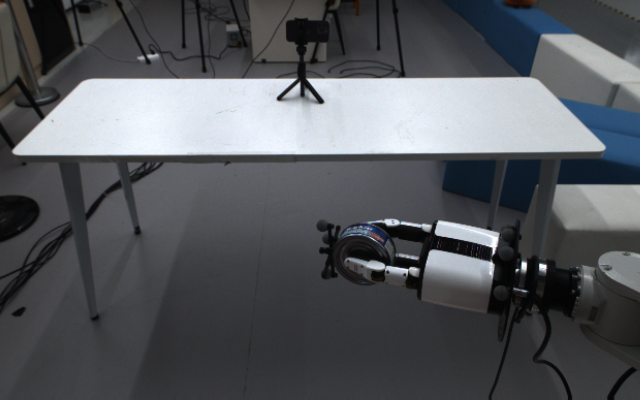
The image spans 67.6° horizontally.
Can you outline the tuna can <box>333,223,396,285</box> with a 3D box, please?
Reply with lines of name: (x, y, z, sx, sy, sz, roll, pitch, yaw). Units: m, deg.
tuna can: (0.064, 0.079, 0.675, 0.085, 0.085, 0.034, 12, 28, 14)
